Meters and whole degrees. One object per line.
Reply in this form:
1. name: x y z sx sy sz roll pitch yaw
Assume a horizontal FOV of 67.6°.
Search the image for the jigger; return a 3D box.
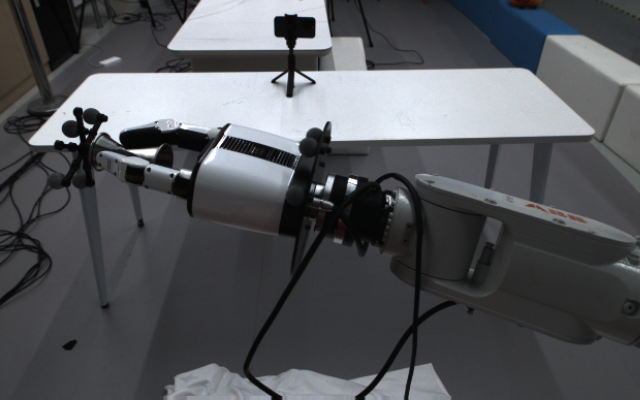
1. jigger: -0.182 -0.044 0.487 0.071 0.043 0.043 11 35 5
